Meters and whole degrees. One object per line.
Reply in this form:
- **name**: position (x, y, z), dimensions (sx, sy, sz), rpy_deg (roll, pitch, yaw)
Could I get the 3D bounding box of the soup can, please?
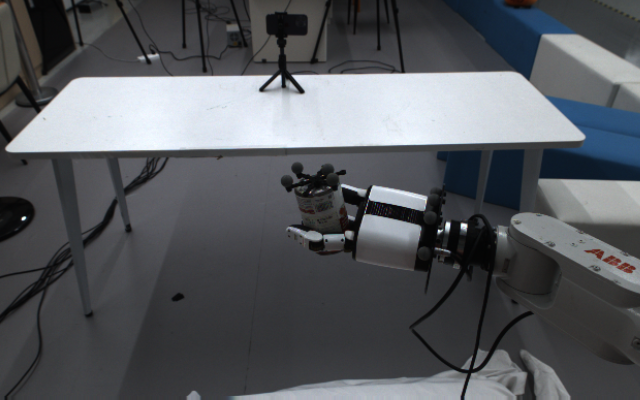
- **soup can**: position (0.007, 0.020, 0.703), dimensions (0.067, 0.101, 0.067), rpy_deg (-11, 27, 6)
